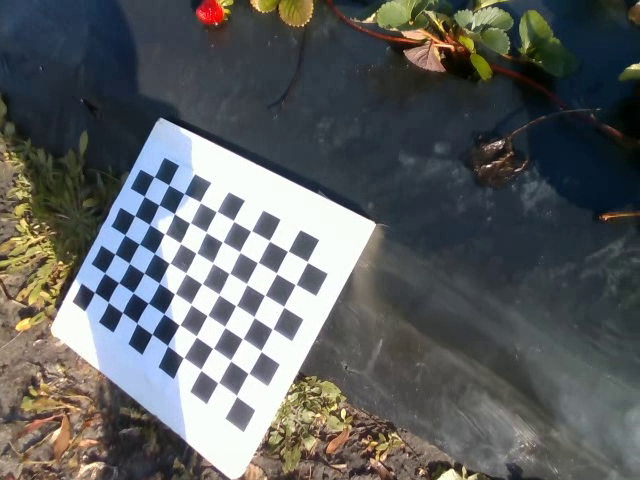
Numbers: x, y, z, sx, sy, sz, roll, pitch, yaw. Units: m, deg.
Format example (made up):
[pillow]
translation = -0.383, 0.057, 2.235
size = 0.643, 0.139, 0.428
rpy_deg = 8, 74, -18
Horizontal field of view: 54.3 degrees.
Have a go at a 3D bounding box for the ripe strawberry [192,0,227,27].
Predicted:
[ripe strawberry]
translation = -0.107, -0.218, 0.597
size = 0.028, 0.031, 0.041
rpy_deg = 0, 22, 25
